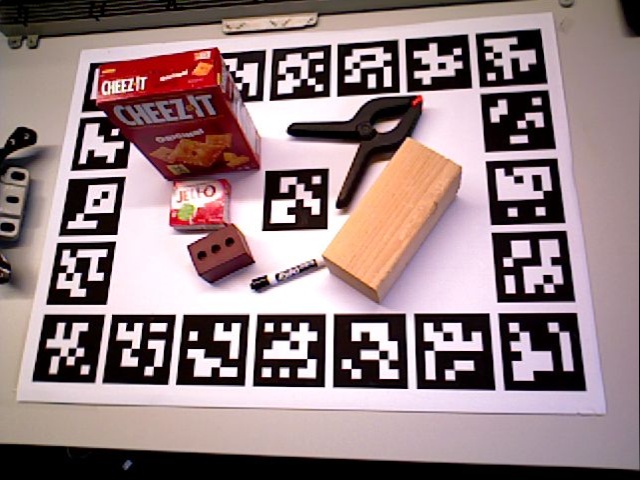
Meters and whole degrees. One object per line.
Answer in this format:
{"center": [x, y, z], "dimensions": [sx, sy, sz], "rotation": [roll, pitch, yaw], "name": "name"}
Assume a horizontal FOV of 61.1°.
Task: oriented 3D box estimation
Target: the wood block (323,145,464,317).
{"center": [0.097, -0.012, 0.740], "dimensions": [0.090, 0.092, 0.204], "rotation": [34, 79, 19], "name": "wood block"}

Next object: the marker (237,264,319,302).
{"center": [-0.061, 0.063, 0.776], "dimensions": [0.121, 0.020, 0.019], "rotation": [-20, 72, 3], "name": "marker"}

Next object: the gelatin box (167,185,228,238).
{"center": [-0.186, -0.043, 0.827], "dimensions": [0.089, 0.030, 0.073], "rotation": [-2, 75, 9], "name": "gelatin box"}

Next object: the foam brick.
{"center": [-0.150, 0.030, 0.785], "dimensions": [0.078, 0.052, 0.052], "rotation": [-24, 72, 1], "name": "foam brick"}

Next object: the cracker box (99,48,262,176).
{"center": [-0.182, -0.170, 0.759], "dimensions": [0.164, 0.215, 0.071], "rotation": [-4, 70, 5], "name": "cracker box"}

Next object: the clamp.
{"center": [0.067, -0.147, 0.809], "dimensions": [0.202, 0.037, 0.165], "rotation": [-30, 72, 0], "name": "clamp"}
